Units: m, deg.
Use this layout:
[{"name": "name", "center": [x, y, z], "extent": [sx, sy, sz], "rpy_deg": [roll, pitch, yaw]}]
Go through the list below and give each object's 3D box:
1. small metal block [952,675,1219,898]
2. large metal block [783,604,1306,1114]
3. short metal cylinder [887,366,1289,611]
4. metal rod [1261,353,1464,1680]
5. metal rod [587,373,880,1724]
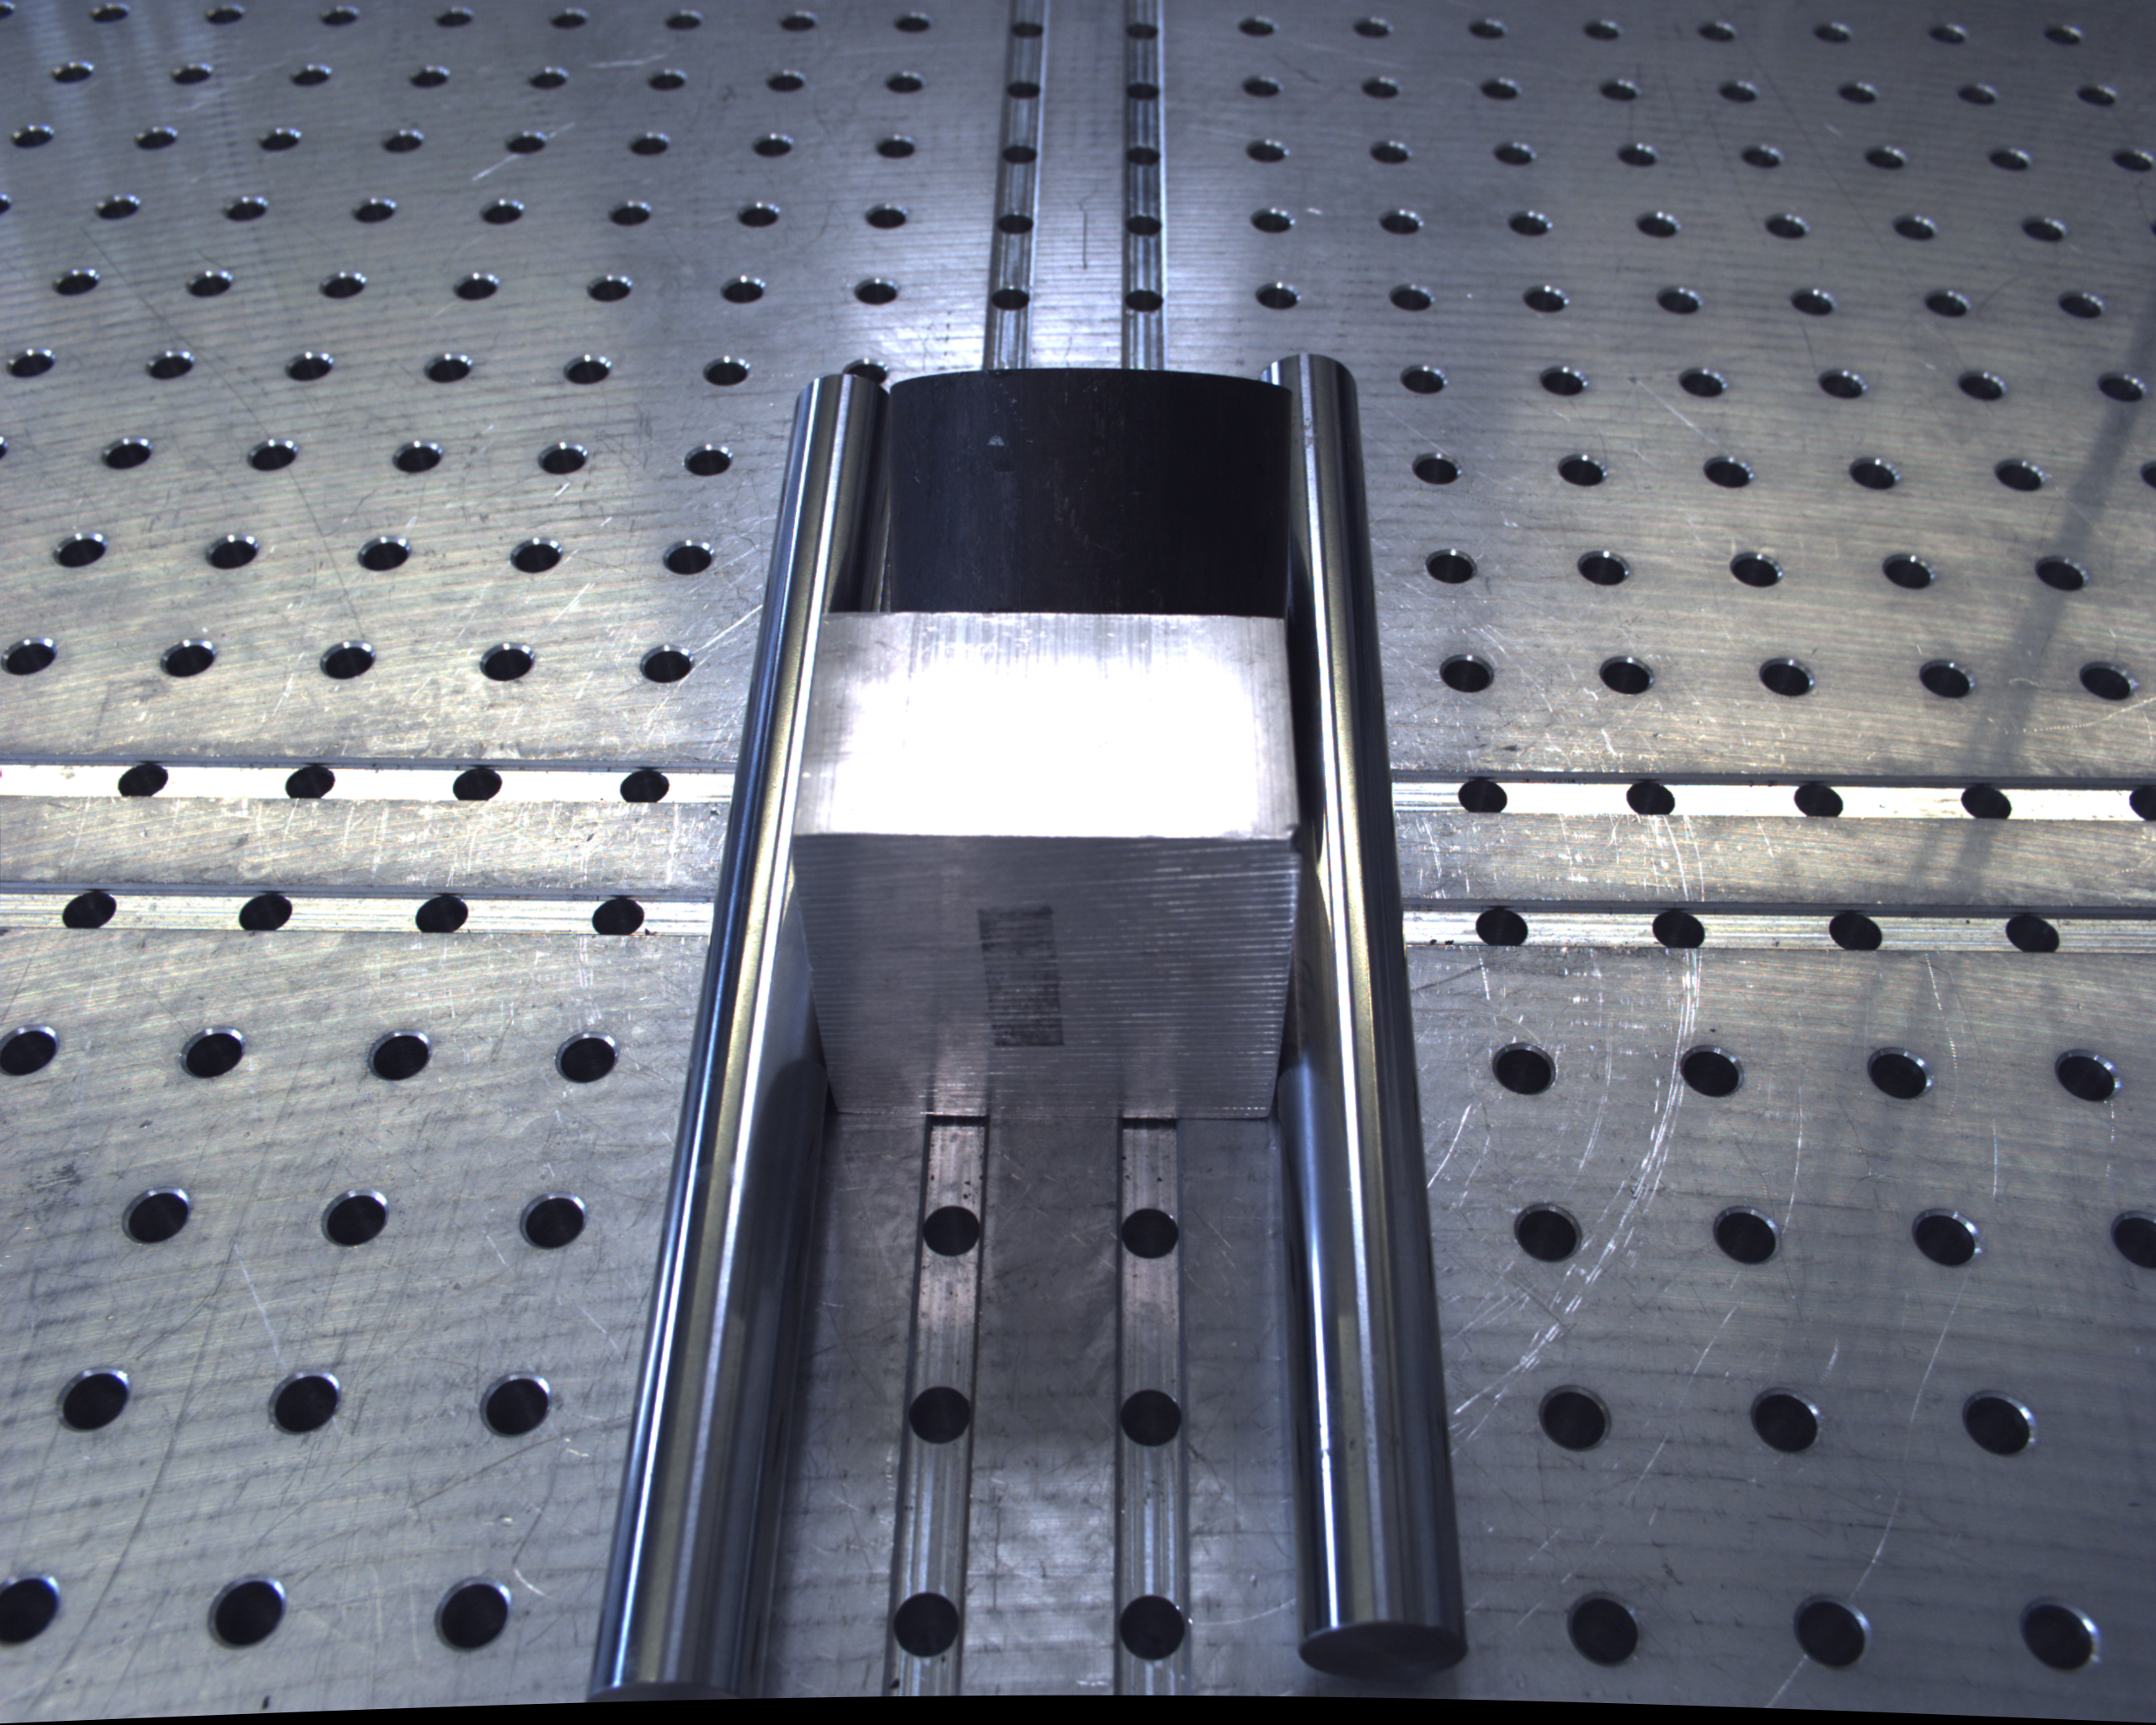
[{"name": "small metal block", "center": [0.001, -0.017, 0.405], "extent": [0.050, 0.050, 0.025], "rpy_deg": [1, 50, 0]}, {"name": "large metal block", "center": [-0.005, 0.001, 0.368], "extent": [0.081, 0.080, 0.050], "rpy_deg": [1, 50, 0]}, {"name": "short metal cylinder", "center": [0.002, -0.070, 0.422], "extent": [0.081, 0.050, 0.080], "rpy_deg": [1, 6, 0]}, {"name": "metal rod", "center": [0.050, 0.002, 0.406], "extent": [0.025, 0.025, 0.300], "rpy_deg": [2, 50, 1]}, {"name": "metal rod", "center": [-0.057, 0.008, 0.400], "extent": [0.025, 0.025, 0.300], "rpy_deg": [1, 50, 0]}]
